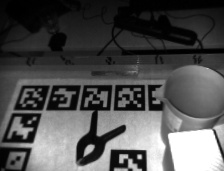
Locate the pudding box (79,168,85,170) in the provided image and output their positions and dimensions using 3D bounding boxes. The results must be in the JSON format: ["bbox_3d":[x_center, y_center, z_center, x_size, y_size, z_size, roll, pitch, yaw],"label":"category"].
[{"bbox_3d":[-0.064,0.280,0.540,0.112,0.039,0.090,31,67,26],"label":"pudding box"}]

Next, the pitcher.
[{"bbox_3d":[0.202,0.057,0.534,0.188,0.245,0.132,-5,53,8],"label":"pitcher"}]

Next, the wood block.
[{"bbox_3d":[0.177,0.166,0.480,0.090,0.207,0.090,-4,55,2],"label":"wood block"}]

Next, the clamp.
[{"bbox_3d":[-0.038,0.150,0.633,0.121,0.037,0.165,26,63,15],"label":"clamp"}]
